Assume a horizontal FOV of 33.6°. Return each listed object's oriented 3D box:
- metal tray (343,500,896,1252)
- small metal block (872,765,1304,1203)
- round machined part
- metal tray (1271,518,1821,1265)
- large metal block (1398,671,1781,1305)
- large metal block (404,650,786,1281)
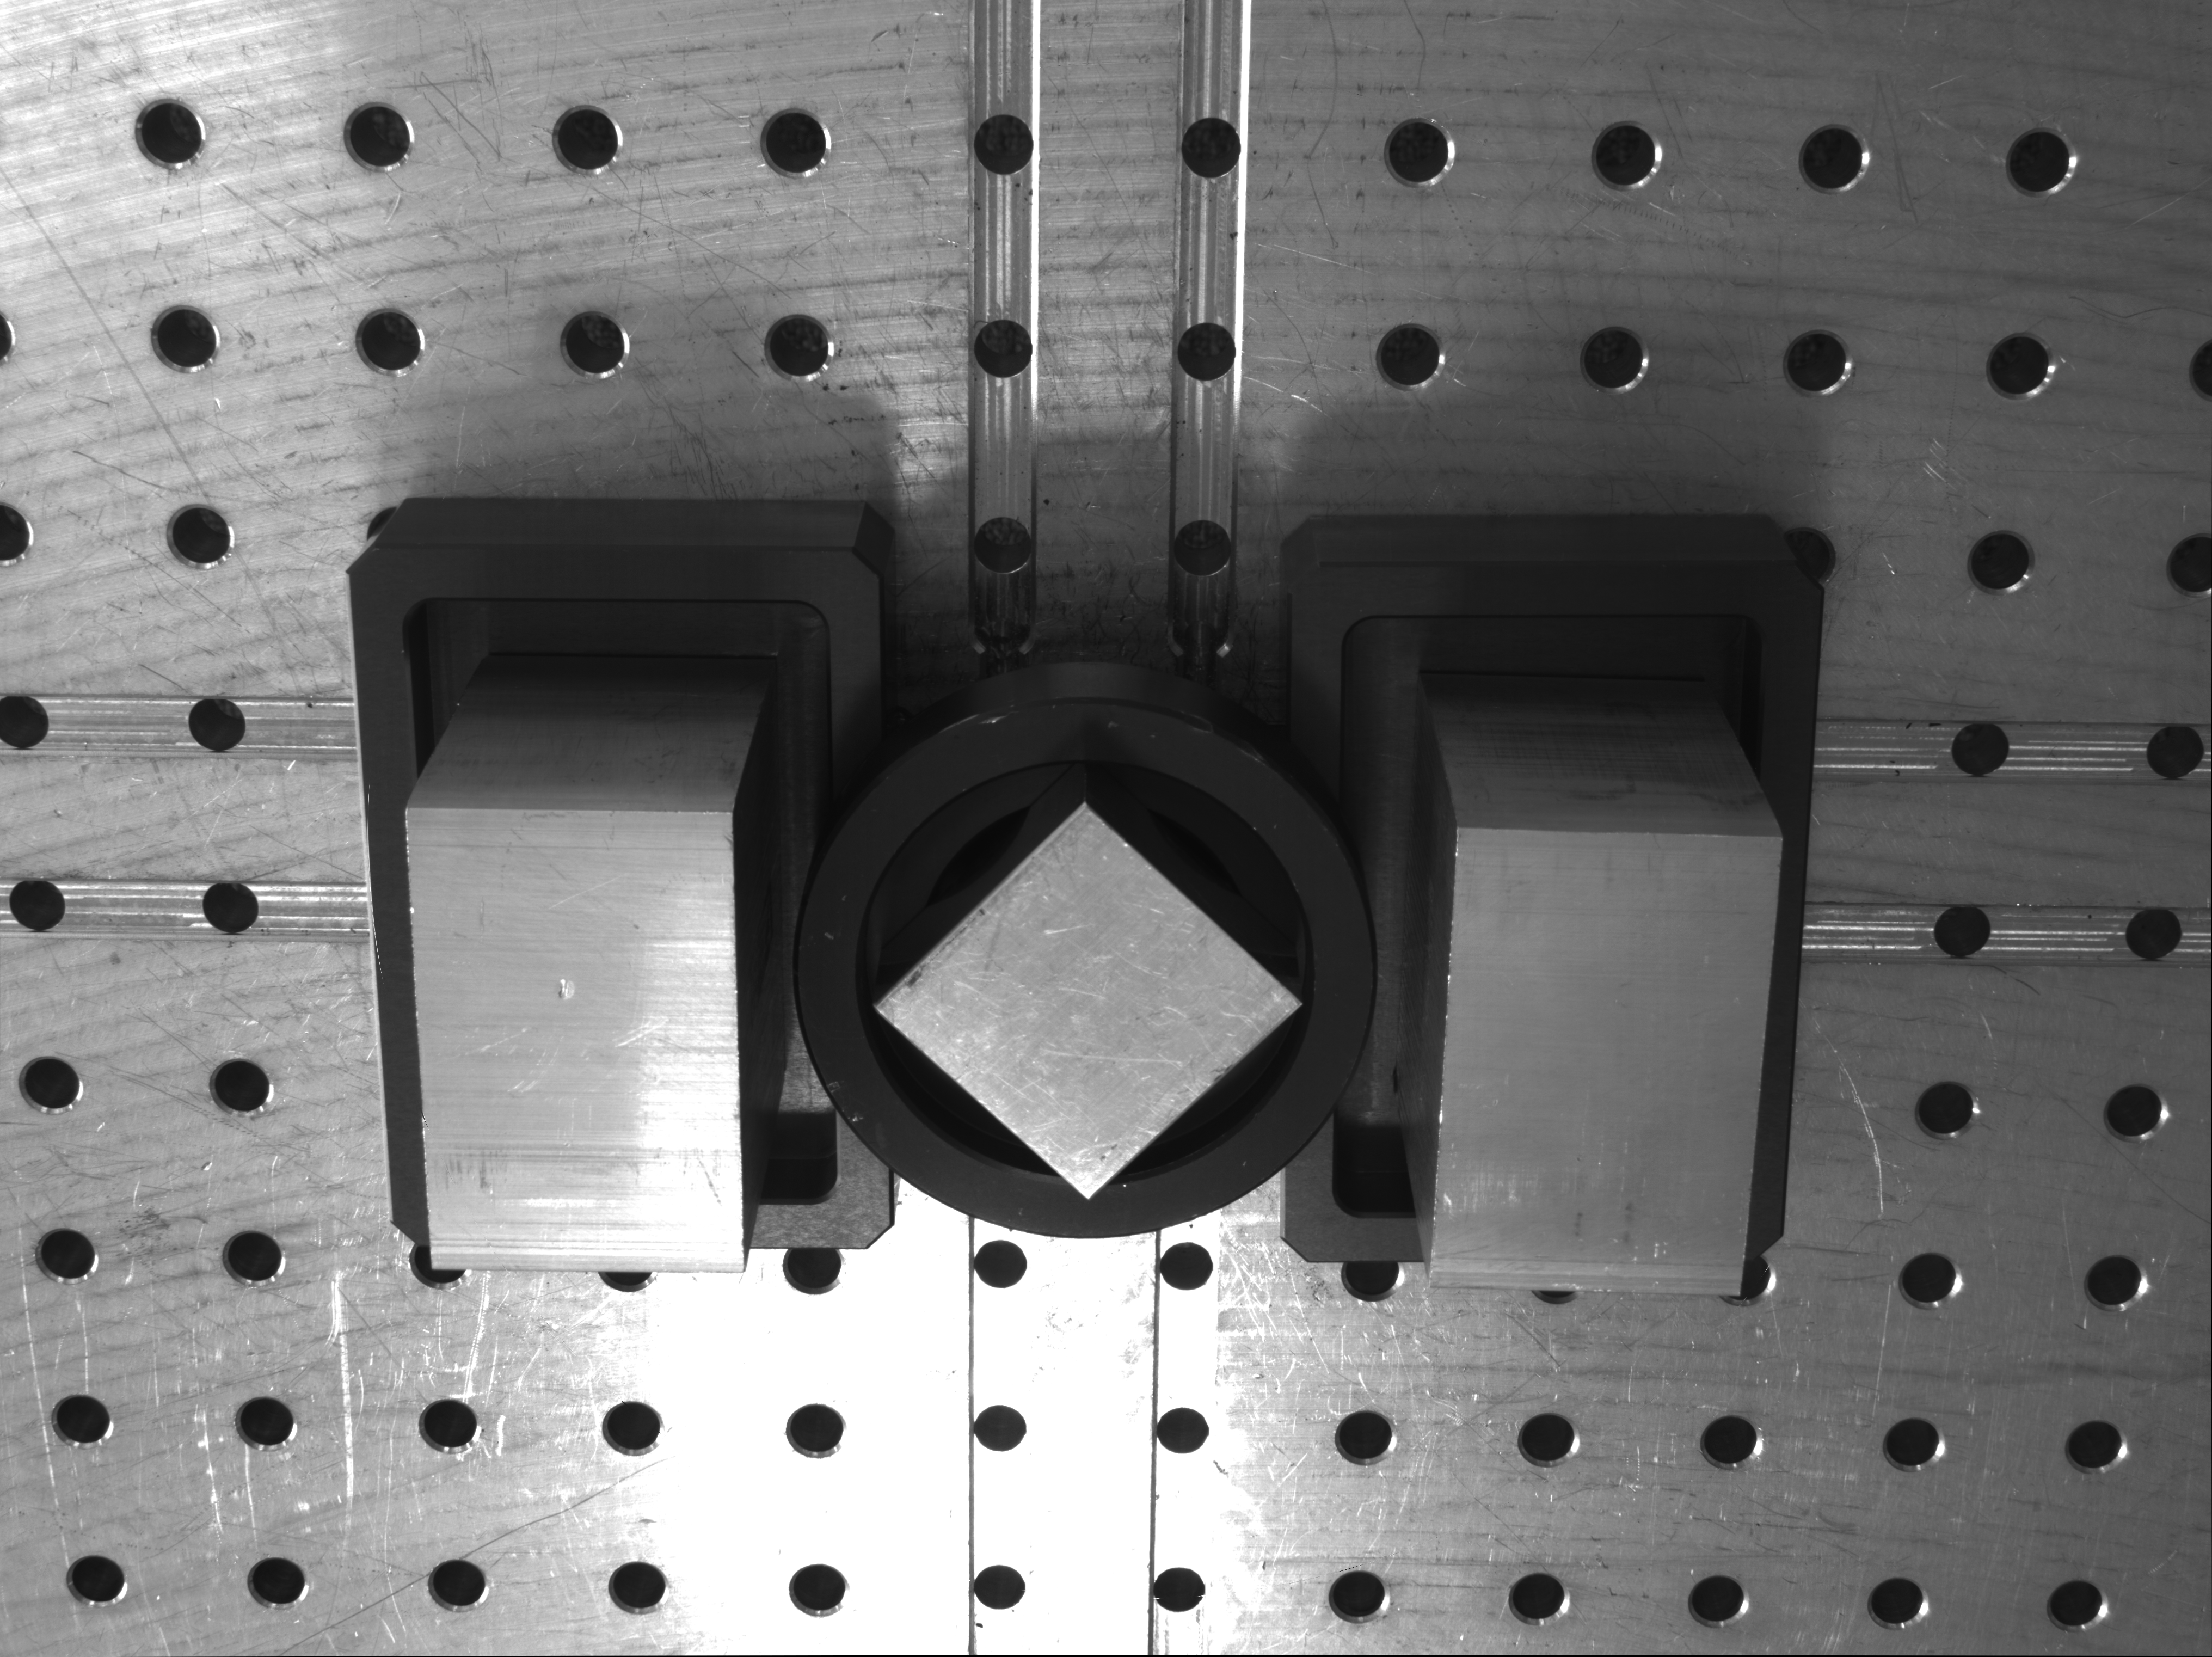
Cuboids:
[{"bbox_3d":[-0.083,0.009,0.646,0.090,0.030,0.130,1,110,0],"label":"metal tray"},{"bbox_3d":[-0.003,0.025,0.612,0.050,0.025,0.050,43,104,-14],"label":"small metal block"},{"bbox_3d":[-0.003,0.018,0.634,0.098,0.042,0.098,0,110,0],"label":"round machined part"},{"bbox_3d":[0.075,0.012,0.647,0.090,0.030,0.130,0,110,0],"label":"metal tray"},{"bbox_3d":[0.078,0.025,0.612,0.050,0.080,0.080,1,110,0],"label":"large metal block"},{"bbox_3d":[-0.082,0.021,0.610,0.050,0.080,0.080,1,110,0],"label":"large metal block"}]
